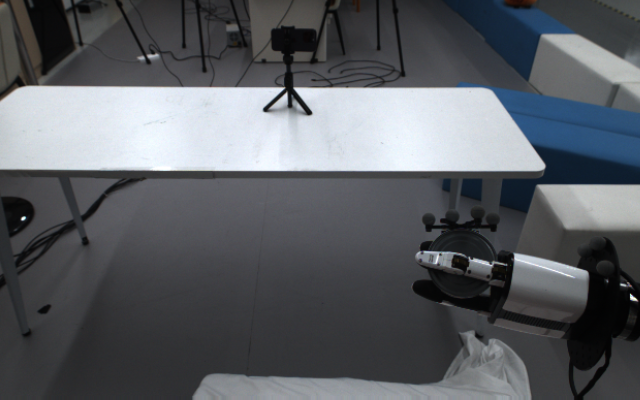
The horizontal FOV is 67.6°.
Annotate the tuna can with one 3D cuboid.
[{"bbox_3d":[0.179,0.078,0.611,0.085,0.034,0.085,-5,70,15],"label":"tuna can"}]
